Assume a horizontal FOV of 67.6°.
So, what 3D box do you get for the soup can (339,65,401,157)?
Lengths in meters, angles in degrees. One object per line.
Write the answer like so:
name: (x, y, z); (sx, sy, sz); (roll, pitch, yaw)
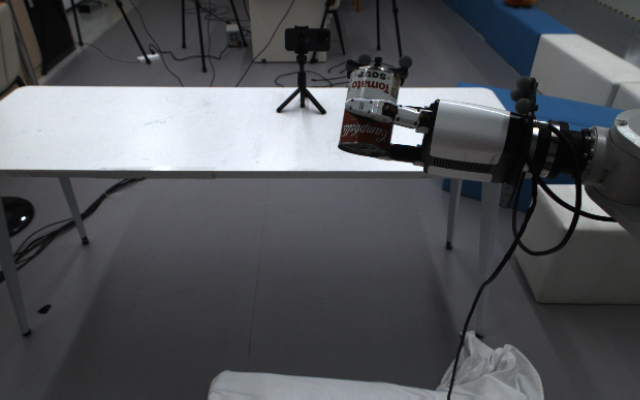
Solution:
soup can: (0.065, -0.115, 0.630); (0.067, 0.101, 0.067); (9, -5, 1)
